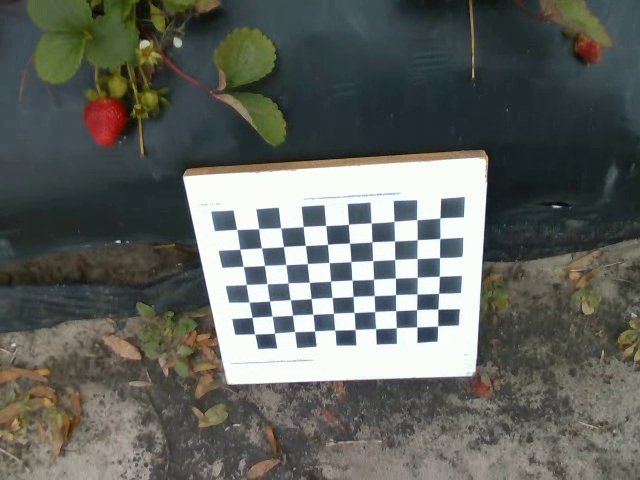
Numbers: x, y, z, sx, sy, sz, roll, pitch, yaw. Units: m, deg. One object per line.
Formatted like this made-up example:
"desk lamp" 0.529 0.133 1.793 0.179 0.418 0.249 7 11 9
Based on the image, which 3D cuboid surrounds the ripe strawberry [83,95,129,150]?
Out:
"ripe strawberry" -0.060 -0.032 0.159 0.018 0.017 0.014 -4 -11 -6
